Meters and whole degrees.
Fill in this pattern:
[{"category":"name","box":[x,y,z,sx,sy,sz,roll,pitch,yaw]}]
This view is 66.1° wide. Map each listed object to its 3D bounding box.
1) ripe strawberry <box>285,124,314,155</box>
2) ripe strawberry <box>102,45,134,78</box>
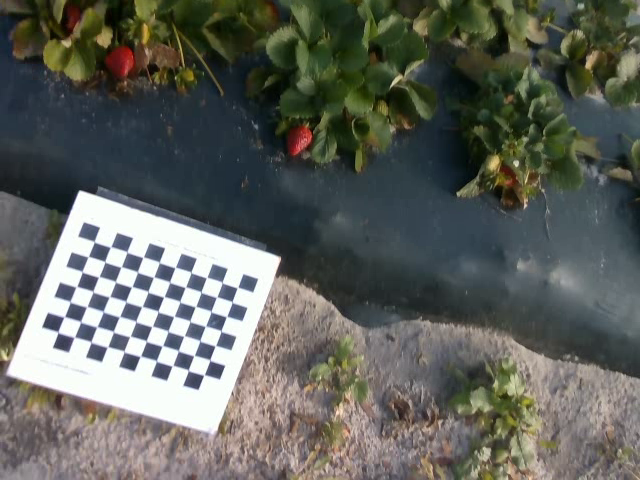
[{"category":"ripe strawberry","box":[-0.026,-0.097,0.467,0.029,0.036,0.021,20,-14,0]},{"category":"ripe strawberry","box":[-0.187,-0.164,0.448,0.031,0.030,0.026,-18,-22,-8]}]
